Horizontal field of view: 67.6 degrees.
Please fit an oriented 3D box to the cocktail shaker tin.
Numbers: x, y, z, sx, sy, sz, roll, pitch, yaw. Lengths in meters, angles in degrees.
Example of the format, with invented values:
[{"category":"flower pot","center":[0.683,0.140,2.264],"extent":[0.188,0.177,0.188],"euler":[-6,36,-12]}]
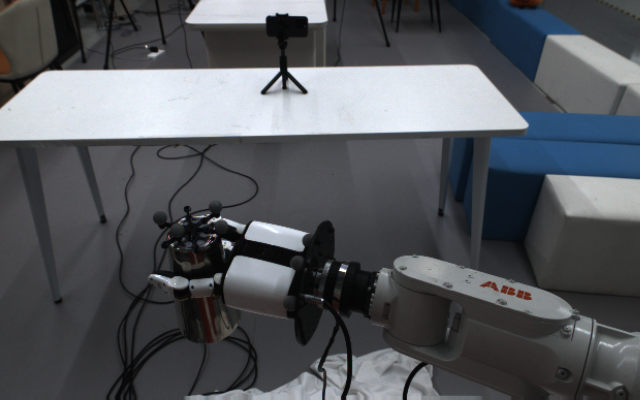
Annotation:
[{"category":"cocktail shaker tin","center":[-0.159,0.106,0.667],"extent":[0.093,0.170,0.093],"euler":[0,39,0]}]
